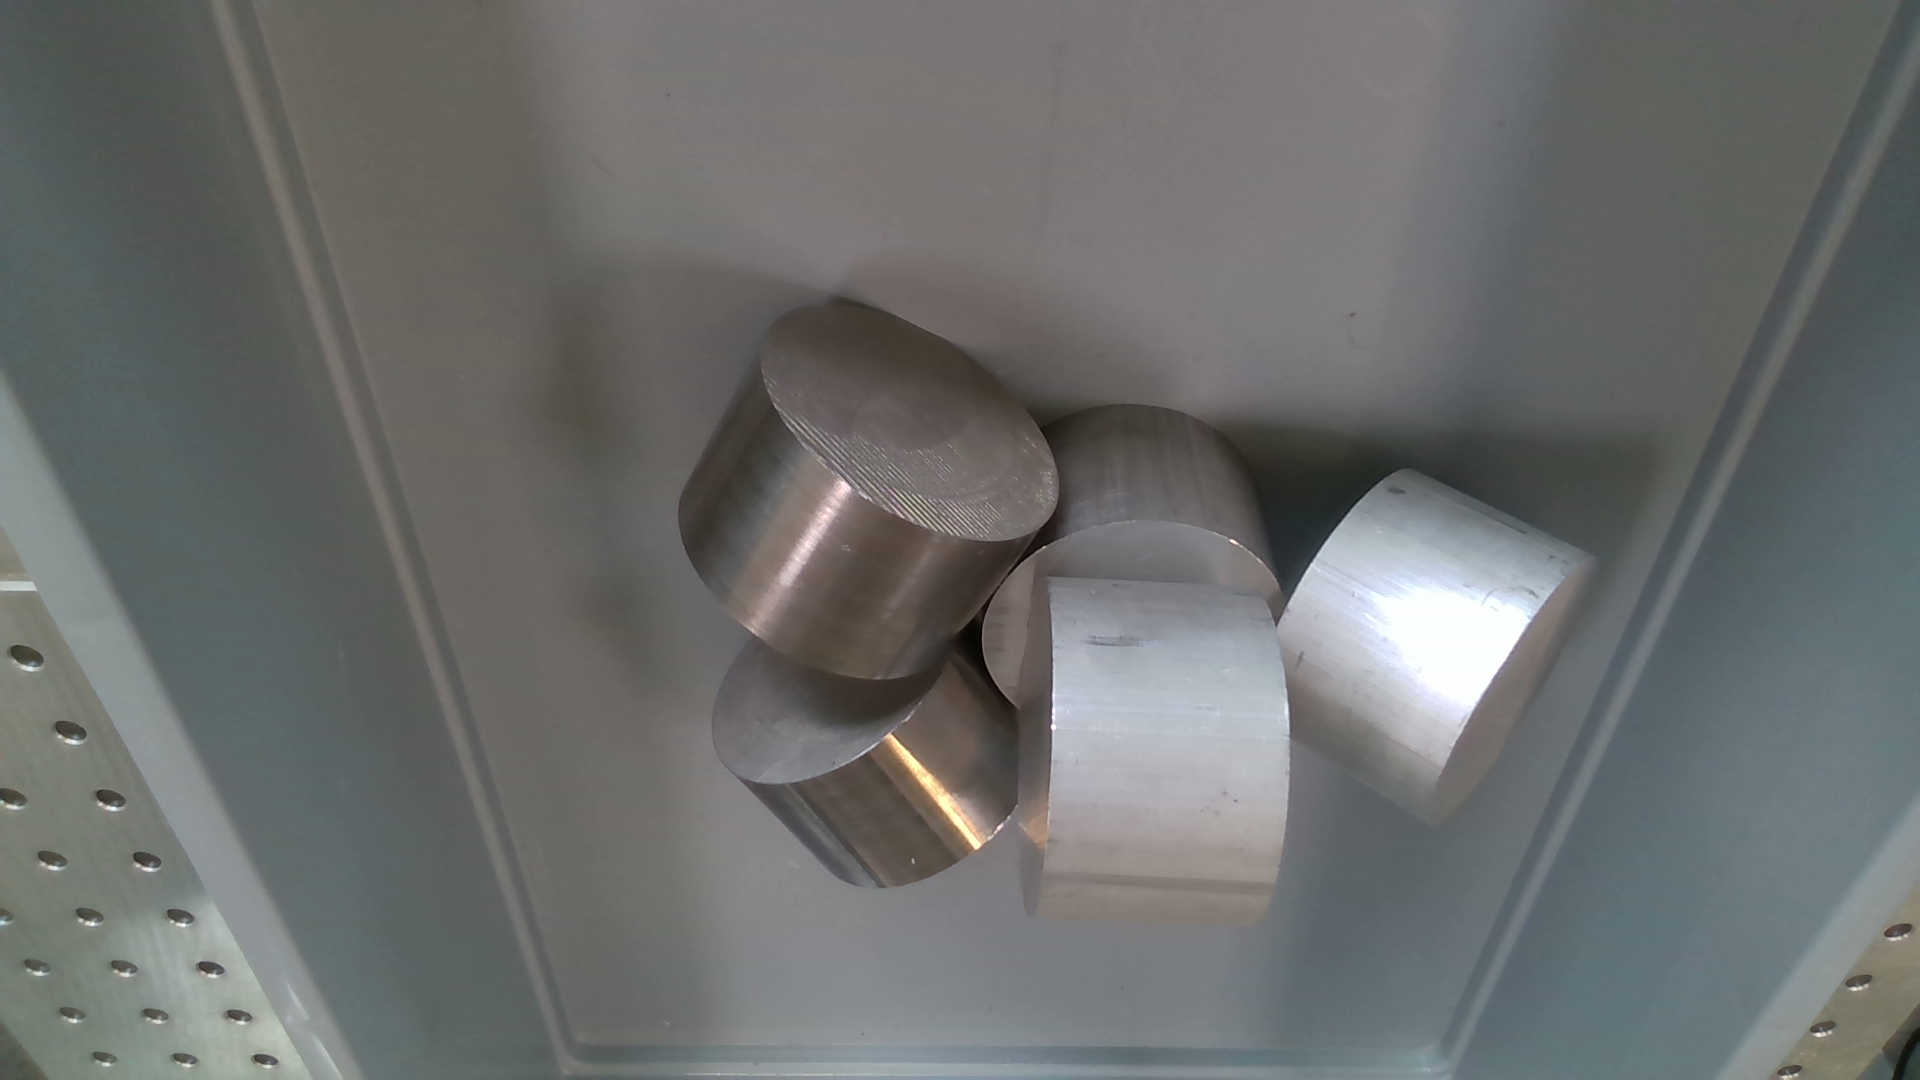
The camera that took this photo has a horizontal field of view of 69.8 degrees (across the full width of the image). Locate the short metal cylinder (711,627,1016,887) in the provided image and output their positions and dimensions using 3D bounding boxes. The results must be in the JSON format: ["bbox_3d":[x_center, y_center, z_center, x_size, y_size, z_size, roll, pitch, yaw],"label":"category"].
[{"bbox_3d":[-0.024,0.051,0.395,0.080,0.080,0.050,-23,126,18],"label":"short metal cylinder"}]

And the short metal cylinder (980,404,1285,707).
[{"bbox_3d":[0.045,0.010,0.378,0.080,0.050,0.080,0,130,0],"label":"short metal cylinder"}]

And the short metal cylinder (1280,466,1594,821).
[{"bbox_3d":[0.123,0.027,0.366,0.050,0.080,0.080,33,137,29],"label":"short metal cylinder"}]

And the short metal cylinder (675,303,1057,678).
[{"bbox_3d":[-0.023,-0.013,0.340,0.080,0.080,0.050,23,126,-18],"label":"short metal cylinder"}]

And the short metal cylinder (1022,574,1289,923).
[{"bbox_3d":[0.042,0.049,0.327,0.050,0.080,0.080,3,130,-2],"label":"short metal cylinder"}]
